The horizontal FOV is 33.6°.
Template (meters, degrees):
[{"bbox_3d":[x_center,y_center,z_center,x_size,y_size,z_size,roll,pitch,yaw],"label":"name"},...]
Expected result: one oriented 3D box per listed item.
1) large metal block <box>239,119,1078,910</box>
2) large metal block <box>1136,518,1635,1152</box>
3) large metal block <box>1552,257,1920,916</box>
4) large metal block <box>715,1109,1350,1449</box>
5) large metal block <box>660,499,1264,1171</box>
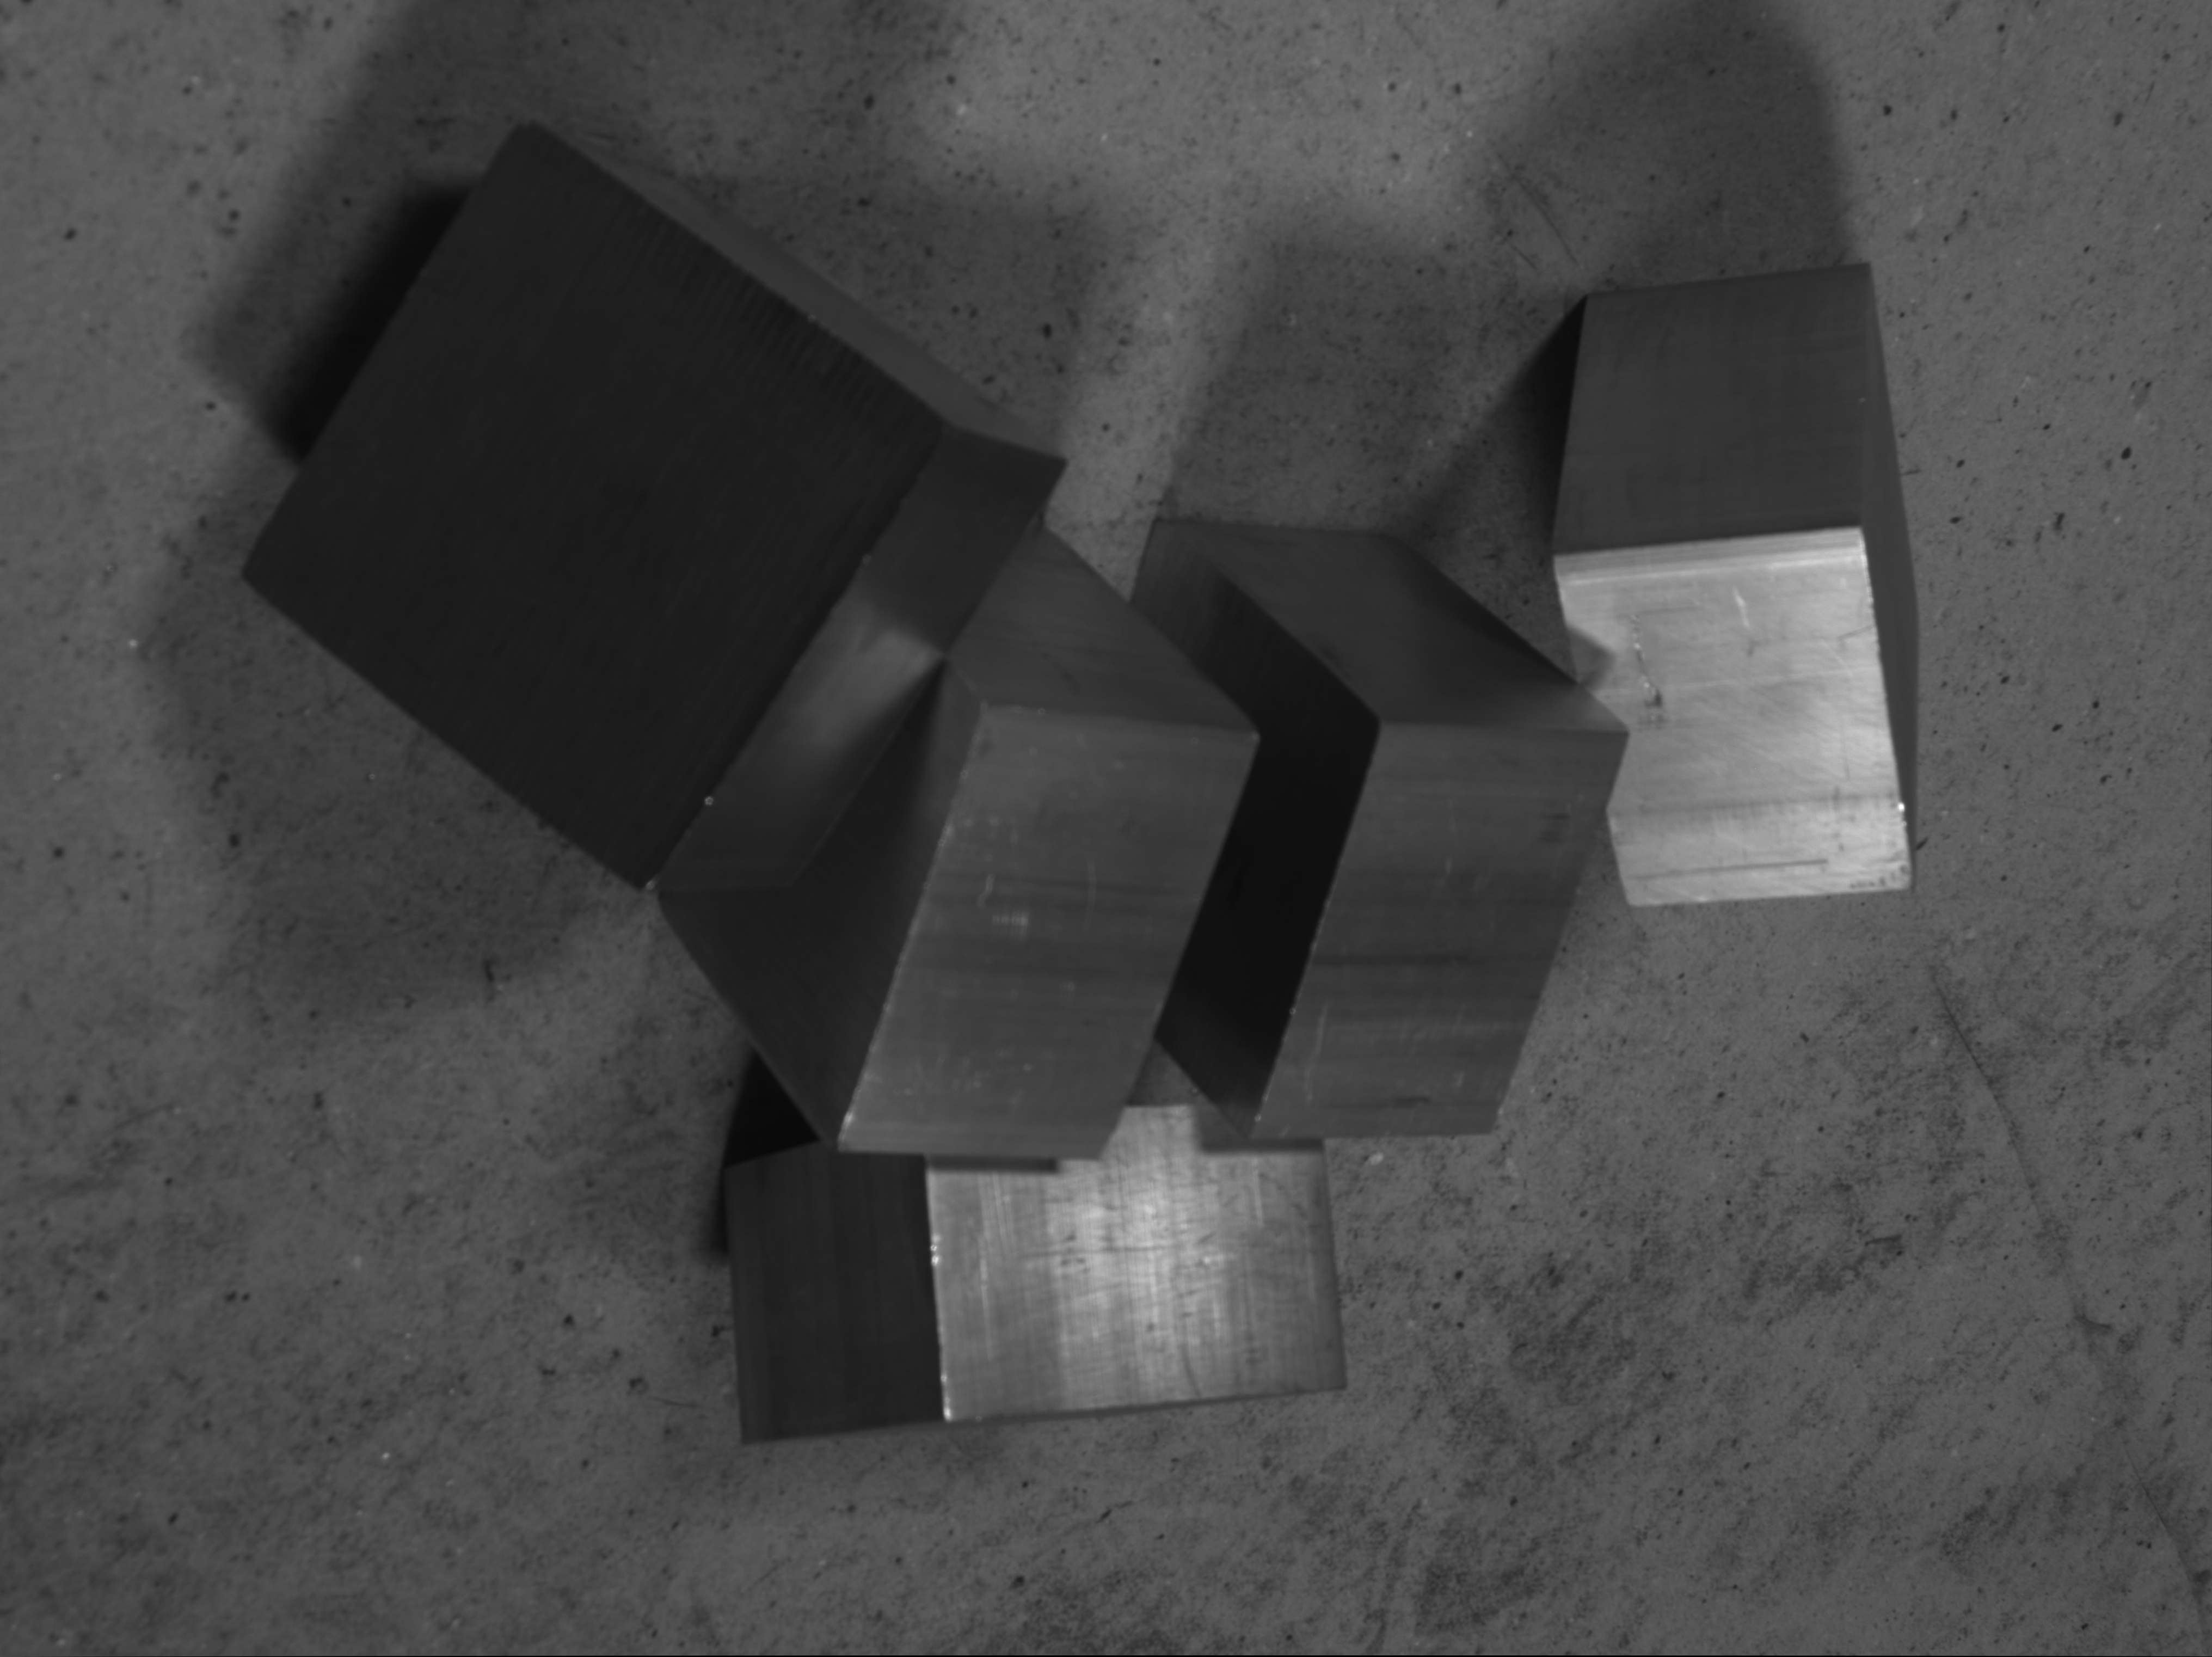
[{"bbox_3d":[-0.065,-0.044,0.538,0.080,0.080,0.050,-56,165,10],"label":"large metal block"},{"bbox_3d":[0.038,0.000,0.638,0.050,0.080,0.080,1,118,-31],"label":"large metal block"},{"bbox_3d":[0.114,-0.043,0.647,0.050,0.080,0.080,-5,129,17],"label":"large metal block"},{"bbox_3d":[-0.014,0.080,0.648,0.080,0.080,0.050,1,78,-31],"label":"large metal block"},{"bbox_3d":[-0.027,0.000,0.600,0.050,0.080,0.080,5,115,-32],"label":"large metal block"}]
